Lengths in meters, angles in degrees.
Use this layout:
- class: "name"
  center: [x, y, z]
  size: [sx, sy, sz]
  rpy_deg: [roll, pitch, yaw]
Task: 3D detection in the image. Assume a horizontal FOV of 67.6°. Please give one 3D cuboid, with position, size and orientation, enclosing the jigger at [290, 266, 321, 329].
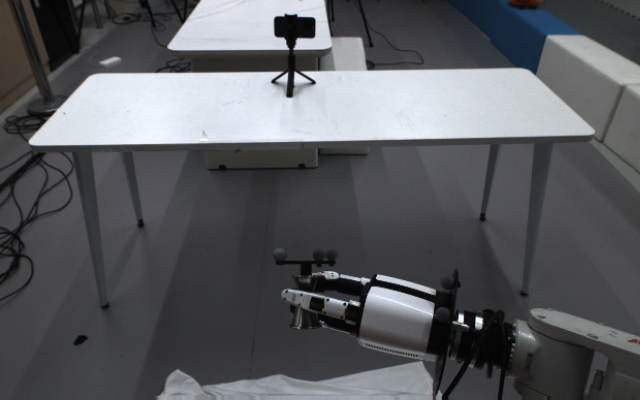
- class: "jigger"
  center: [-0.020, 0.133, 0.647]
  size: [0.043, 0.071, 0.043]
  rpy_deg: [1, -5, 0]
